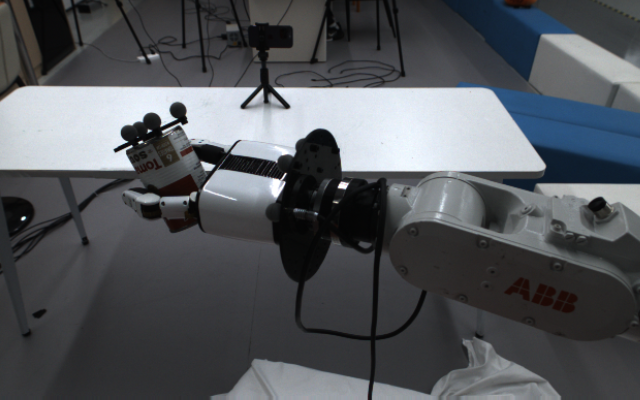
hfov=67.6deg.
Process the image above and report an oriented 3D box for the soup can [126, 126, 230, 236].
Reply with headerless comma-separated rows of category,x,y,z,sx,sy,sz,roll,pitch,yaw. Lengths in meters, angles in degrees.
soup can,-0.160,-0.022,0.544,0.067,0.101,0.067,-23,15,7
